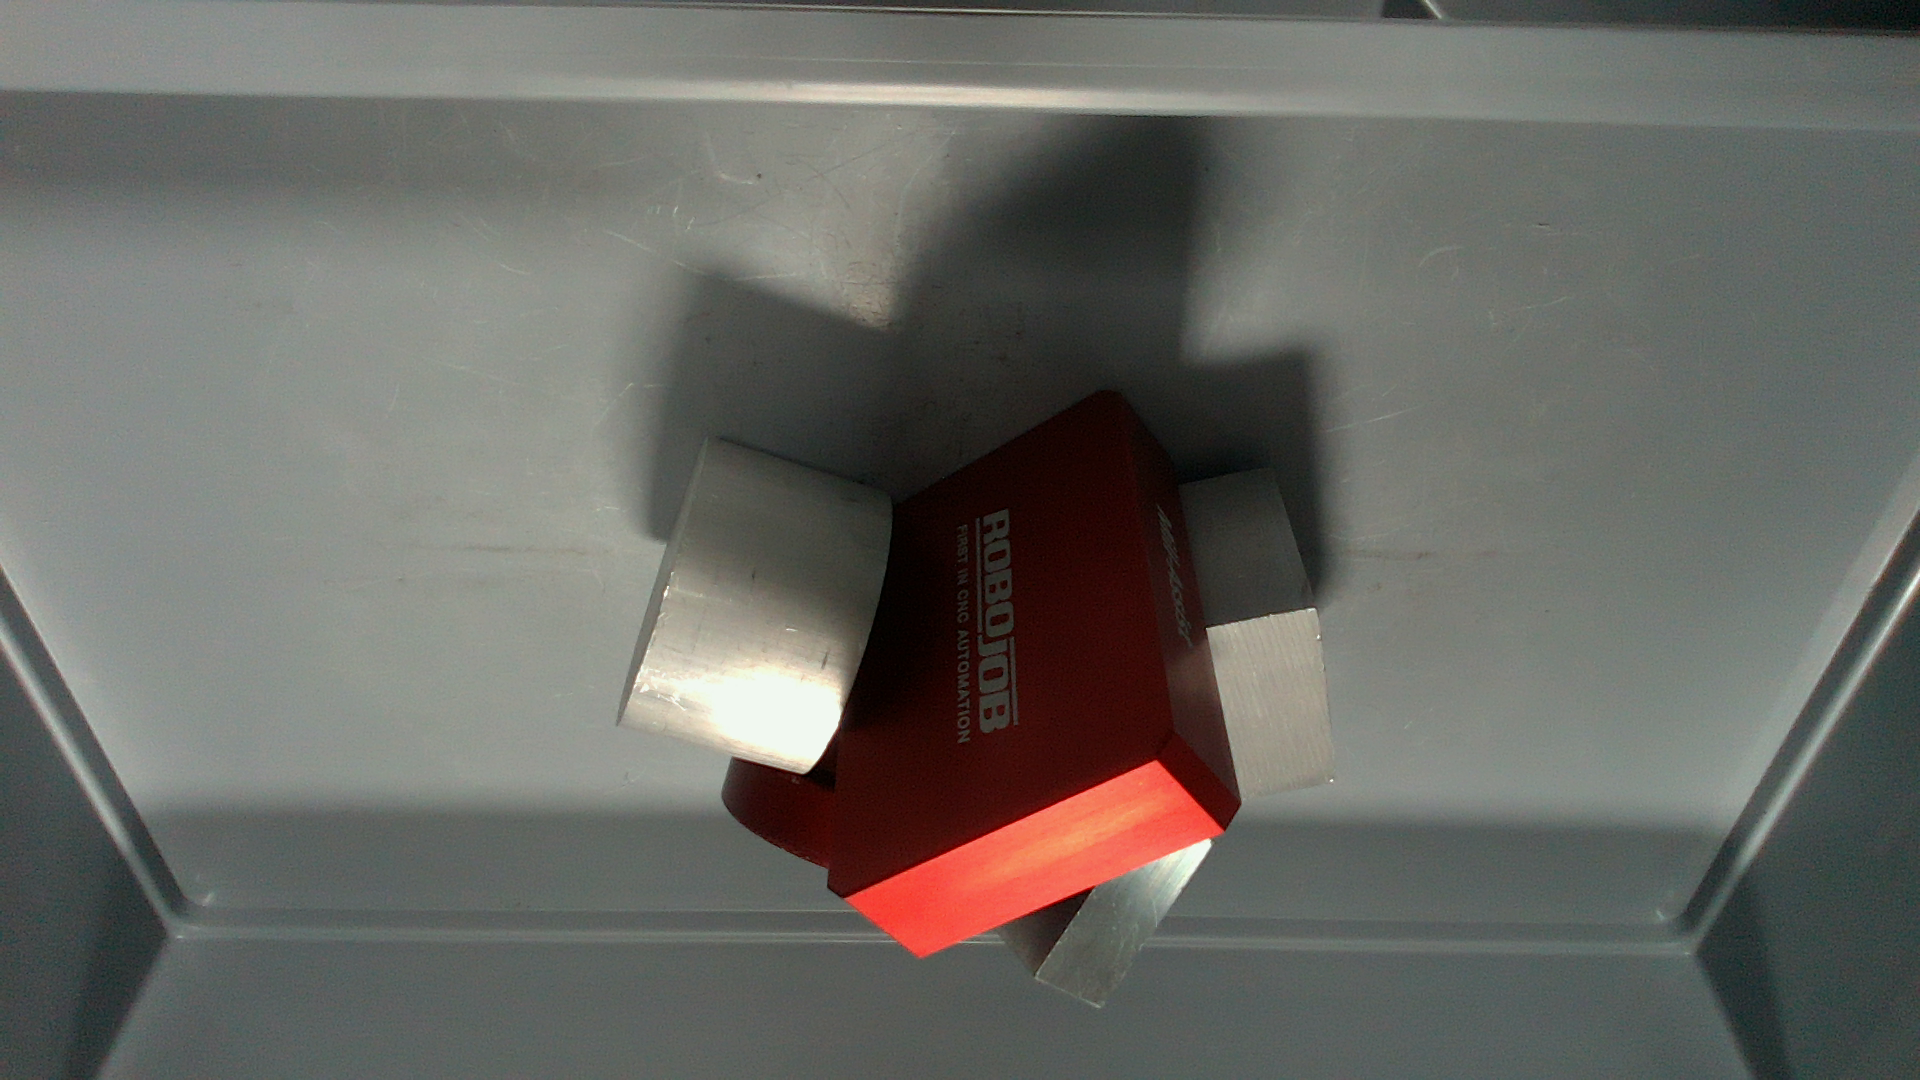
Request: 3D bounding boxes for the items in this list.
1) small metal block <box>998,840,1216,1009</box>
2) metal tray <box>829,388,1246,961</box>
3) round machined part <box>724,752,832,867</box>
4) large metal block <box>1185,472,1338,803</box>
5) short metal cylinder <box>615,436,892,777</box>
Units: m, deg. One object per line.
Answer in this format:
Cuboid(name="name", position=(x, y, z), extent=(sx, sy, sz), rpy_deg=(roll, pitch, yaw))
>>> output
Cuboid(name="small metal block", position=(0.029, 0.081, 0.352), extent=(0.025, 0.050, 0.050), rpy_deg=(34, 91, -33))
Cuboid(name="metal tray", position=(0.015, 0.028, 0.344), extent=(0.090, 0.130, 0.030), rpy_deg=(-29, 125, 22))
Cuboid(name="round machined part", position=(-0.018, 0.068, 0.411), extent=(0.098, 0.098, 0.042), rpy_deg=(16, 93, -13))
Cuboid(name="large metal block", position=(0.060, 0.034, 0.392), extent=(0.080, 0.050, 0.080), rpy_deg=(-11, 134, 9))
Cuboid(name="short metal cylinder", position=(-0.056, 0.018, 0.368), extent=(0.050, 0.080, 0.080), rpy_deg=(17, 128, -14))
